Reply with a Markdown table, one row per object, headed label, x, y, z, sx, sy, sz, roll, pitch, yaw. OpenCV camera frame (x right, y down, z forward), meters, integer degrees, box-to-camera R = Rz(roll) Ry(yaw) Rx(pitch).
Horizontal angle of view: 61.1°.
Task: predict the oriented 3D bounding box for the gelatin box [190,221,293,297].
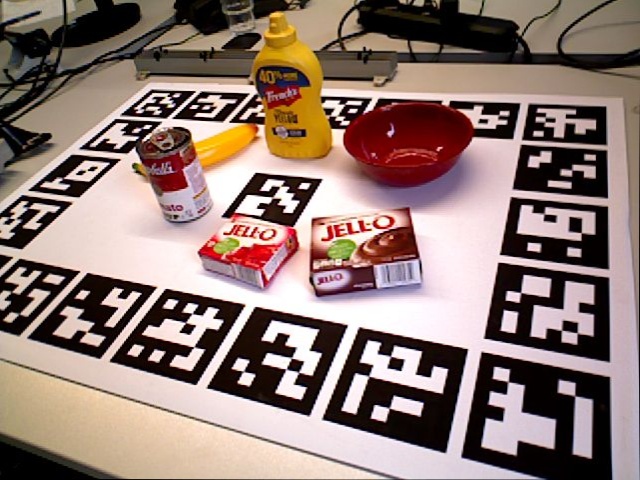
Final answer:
| label | x | y | z | sx | sy | sz | roll | pitch | yaw |
| --- | --- | --- | --- | --- | --- | --- | --- | --- | --- |
| gelatin box | -0.086 | 0.017 | 0.598 | 0.090 | 0.031 | 0.071 | 13 | 49 | 27 |

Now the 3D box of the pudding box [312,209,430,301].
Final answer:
| label | x | y | z | sx | sy | sz | roll | pitch | yaw |
| --- | --- | --- | --- | --- | --- | --- | --- | --- | --- |
| pudding box | 0.049 | 0.014 | 0.562 | 0.114 | 0.039 | 0.088 | -8 | 46 | 4 |

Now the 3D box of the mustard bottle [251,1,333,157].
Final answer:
| label | x | y | z | sx | sy | sz | roll | pitch | yaw |
| --- | --- | --- | --- | --- | --- | --- | --- | --- | --- |
| mustard bottle | -0.039 | -0.205 | 0.702 | 0.096 | 0.195 | 0.057 | 9 | 41 | 21 |

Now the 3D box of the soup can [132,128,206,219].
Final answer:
| label | x | y | z | sx | sy | sz | roll | pitch | yaw |
| --- | --- | --- | --- | --- | --- | --- | --- | --- | --- |
| soup can | -0.185 | -0.086 | 0.672 | 0.068 | 0.104 | 0.067 | -5 | 39 | 3 |

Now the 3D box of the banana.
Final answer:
| label | x | y | z | sx | sy | sz | roll | pitch | yaw |
| --- | --- | --- | --- | --- | --- | --- | --- | --- | --- |
| banana | -0.178 | -0.131 | 0.788 | 0.195 | 0.039 | 0.074 | -23 | 31 | -14 |

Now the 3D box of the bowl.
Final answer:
| label | x | y | z | sx | sy | sz | roll | pitch | yaw |
| --- | --- | --- | --- | --- | --- | --- | --- | --- | --- |
| bowl | 0.122 | -0.108 | 0.679 | 0.161 | 0.056 | 0.159 | -8 | 39 | 6 |
